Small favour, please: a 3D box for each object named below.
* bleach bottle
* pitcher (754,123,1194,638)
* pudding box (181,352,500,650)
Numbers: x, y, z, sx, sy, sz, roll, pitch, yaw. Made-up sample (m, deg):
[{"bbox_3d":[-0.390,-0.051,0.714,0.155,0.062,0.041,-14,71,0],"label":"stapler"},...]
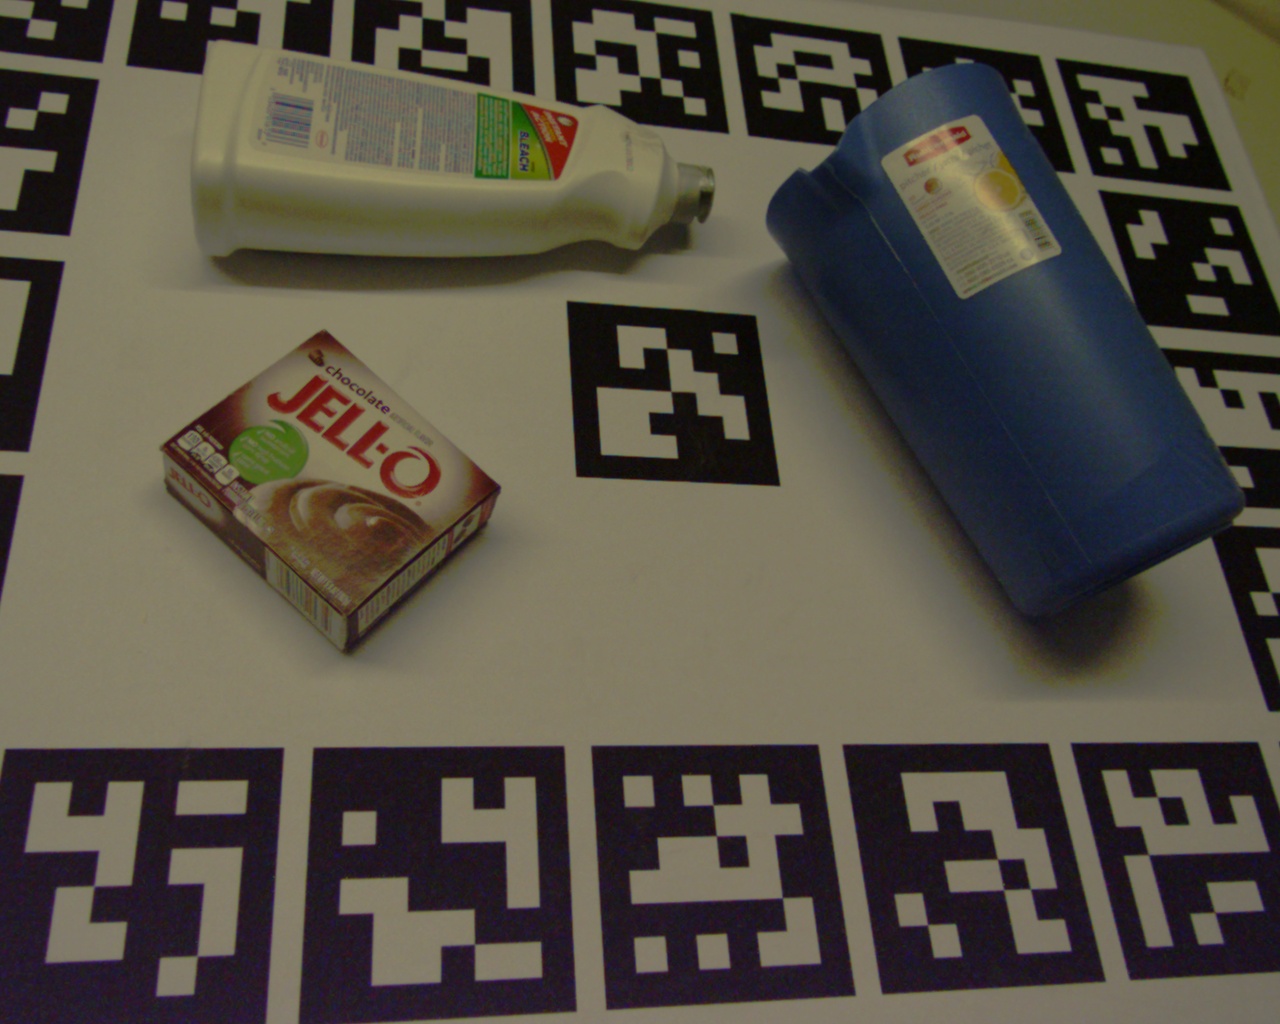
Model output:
[{"bbox_3d":[-0.087,-0.164,0.598,0.249,0.068,0.103,0,69,-16],"label":"bleach bottle"},{"bbox_3d":[0.176,-0.064,0.594,0.186,0.134,0.243,-7,67,-55],"label":"pitcher"},{"bbox_3d":[-0.135,-0.006,0.516,0.114,0.039,0.089,43,57,7],"label":"pudding box"}]
